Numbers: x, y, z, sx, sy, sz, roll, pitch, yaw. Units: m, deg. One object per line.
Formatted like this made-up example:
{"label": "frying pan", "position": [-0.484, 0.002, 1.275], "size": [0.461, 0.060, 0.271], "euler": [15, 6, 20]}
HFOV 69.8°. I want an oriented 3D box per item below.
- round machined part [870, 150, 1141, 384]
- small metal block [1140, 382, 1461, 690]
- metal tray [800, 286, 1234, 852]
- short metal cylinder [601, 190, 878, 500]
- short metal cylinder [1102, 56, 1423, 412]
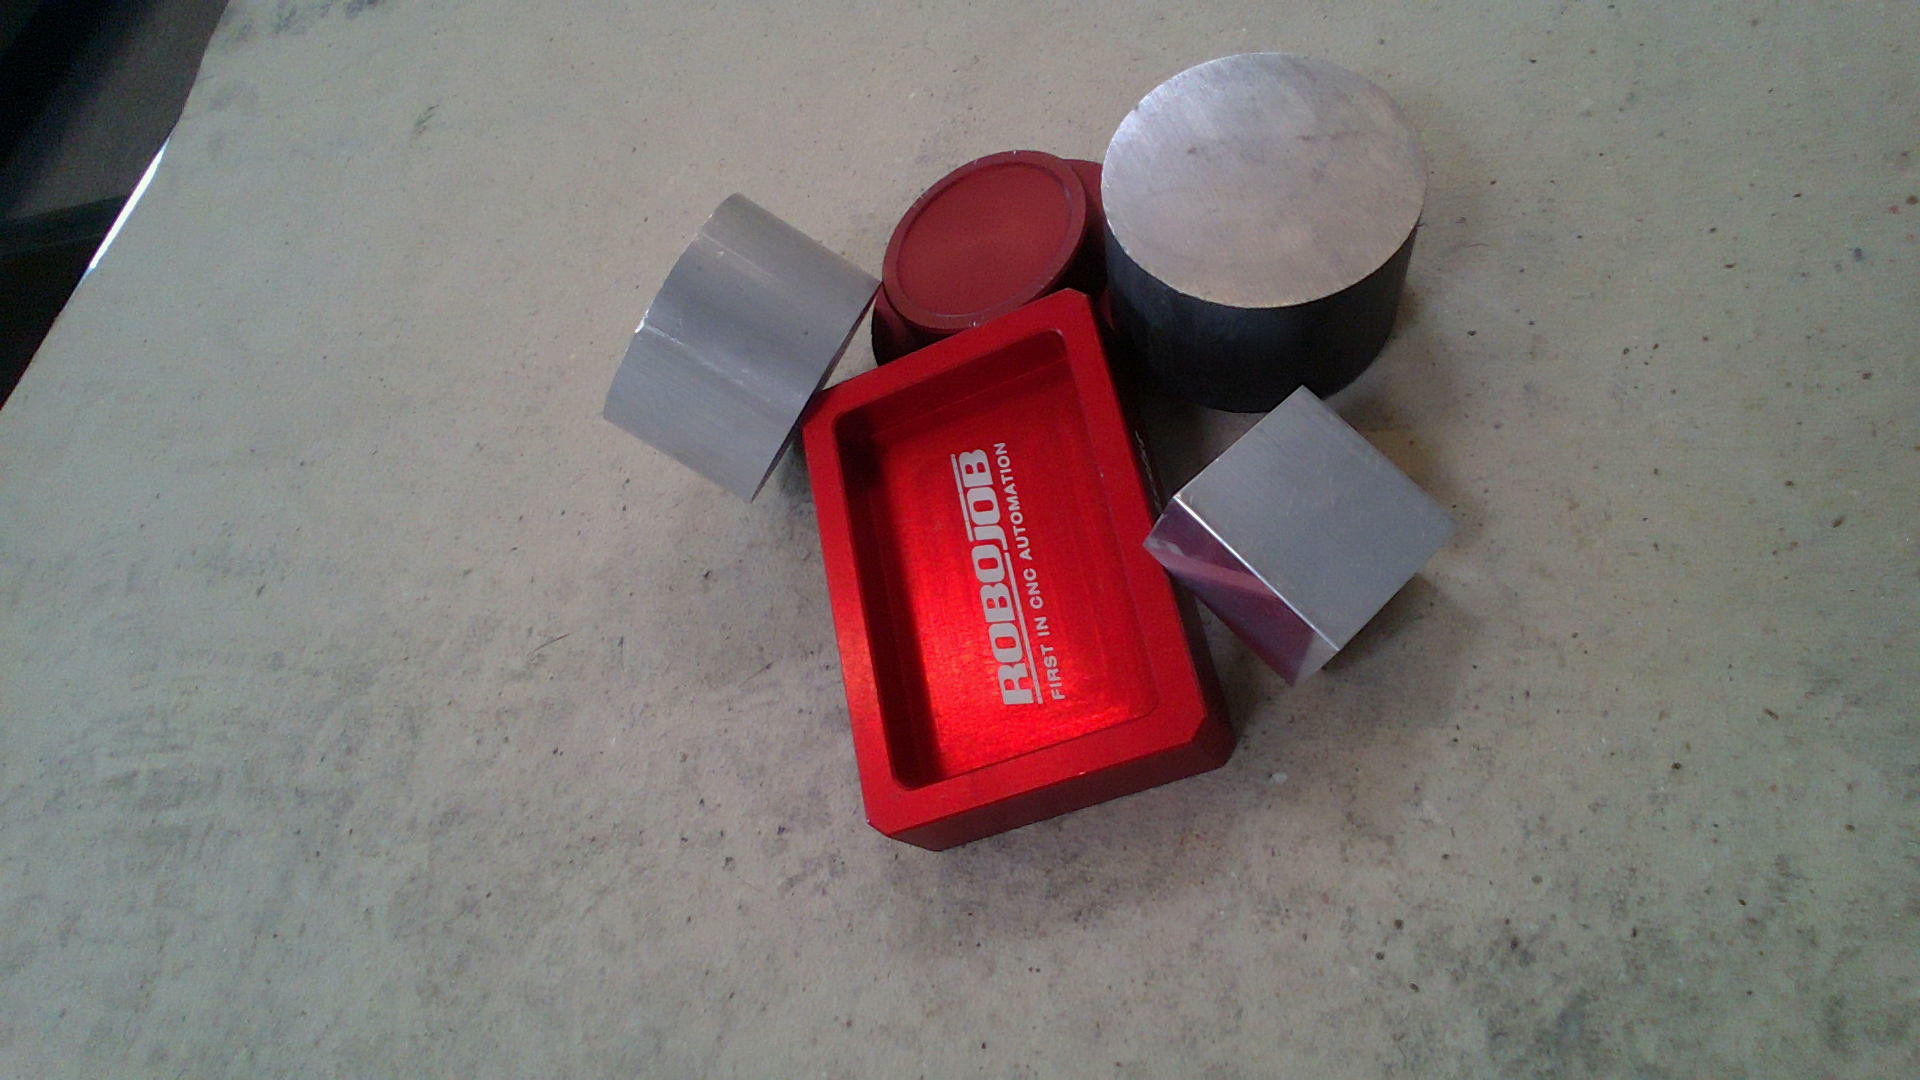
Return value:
{"label": "round machined part", "position": [0.015, -0.081, 0.425], "size": [0.098, 0.042, 0.098], "euler": [-13, 56, 21]}
{"label": "small metal block", "position": [0.081, -0.002, 0.329], "size": [0.050, 0.025, 0.050], "euler": [-38, 75, -27]}
{"label": "metal tray", "position": [0.011, 0.007, 0.366], "size": [0.090, 0.030, 0.130], "euler": [-20, 63, 16]}
{"label": "short metal cylinder", "position": [-0.067, -0.059, 0.422], "size": [0.050, 0.080, 0.080], "euler": [31, 74, -7]}
{"label": "short metal cylinder", "position": [0.080, -0.082, 0.372], "size": [0.080, 0.050, 0.080], "euler": [-3, 64, 7]}
